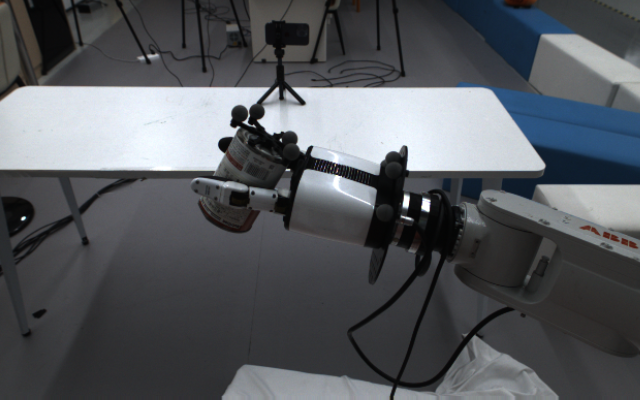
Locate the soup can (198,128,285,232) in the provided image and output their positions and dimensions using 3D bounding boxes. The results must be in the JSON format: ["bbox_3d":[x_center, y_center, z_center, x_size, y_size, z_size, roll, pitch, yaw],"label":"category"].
[{"bbox_3d":[-0.082,-0.022,0.542,0.067,0.101,0.067,28,22,-12],"label":"soup can"}]
